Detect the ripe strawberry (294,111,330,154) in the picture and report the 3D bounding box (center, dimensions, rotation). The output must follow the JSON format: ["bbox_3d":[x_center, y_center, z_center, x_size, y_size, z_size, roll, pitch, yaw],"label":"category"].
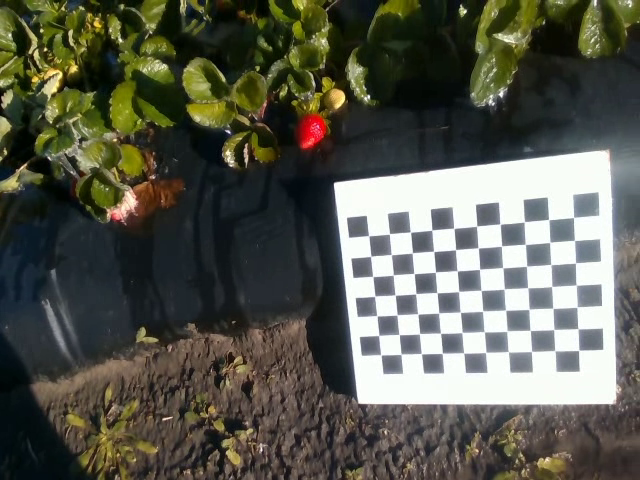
[{"bbox_3d":[-0.010,-0.095,0.572,0.039,0.040,0.039,-14,31,28],"label":"ripe strawberry"}]
